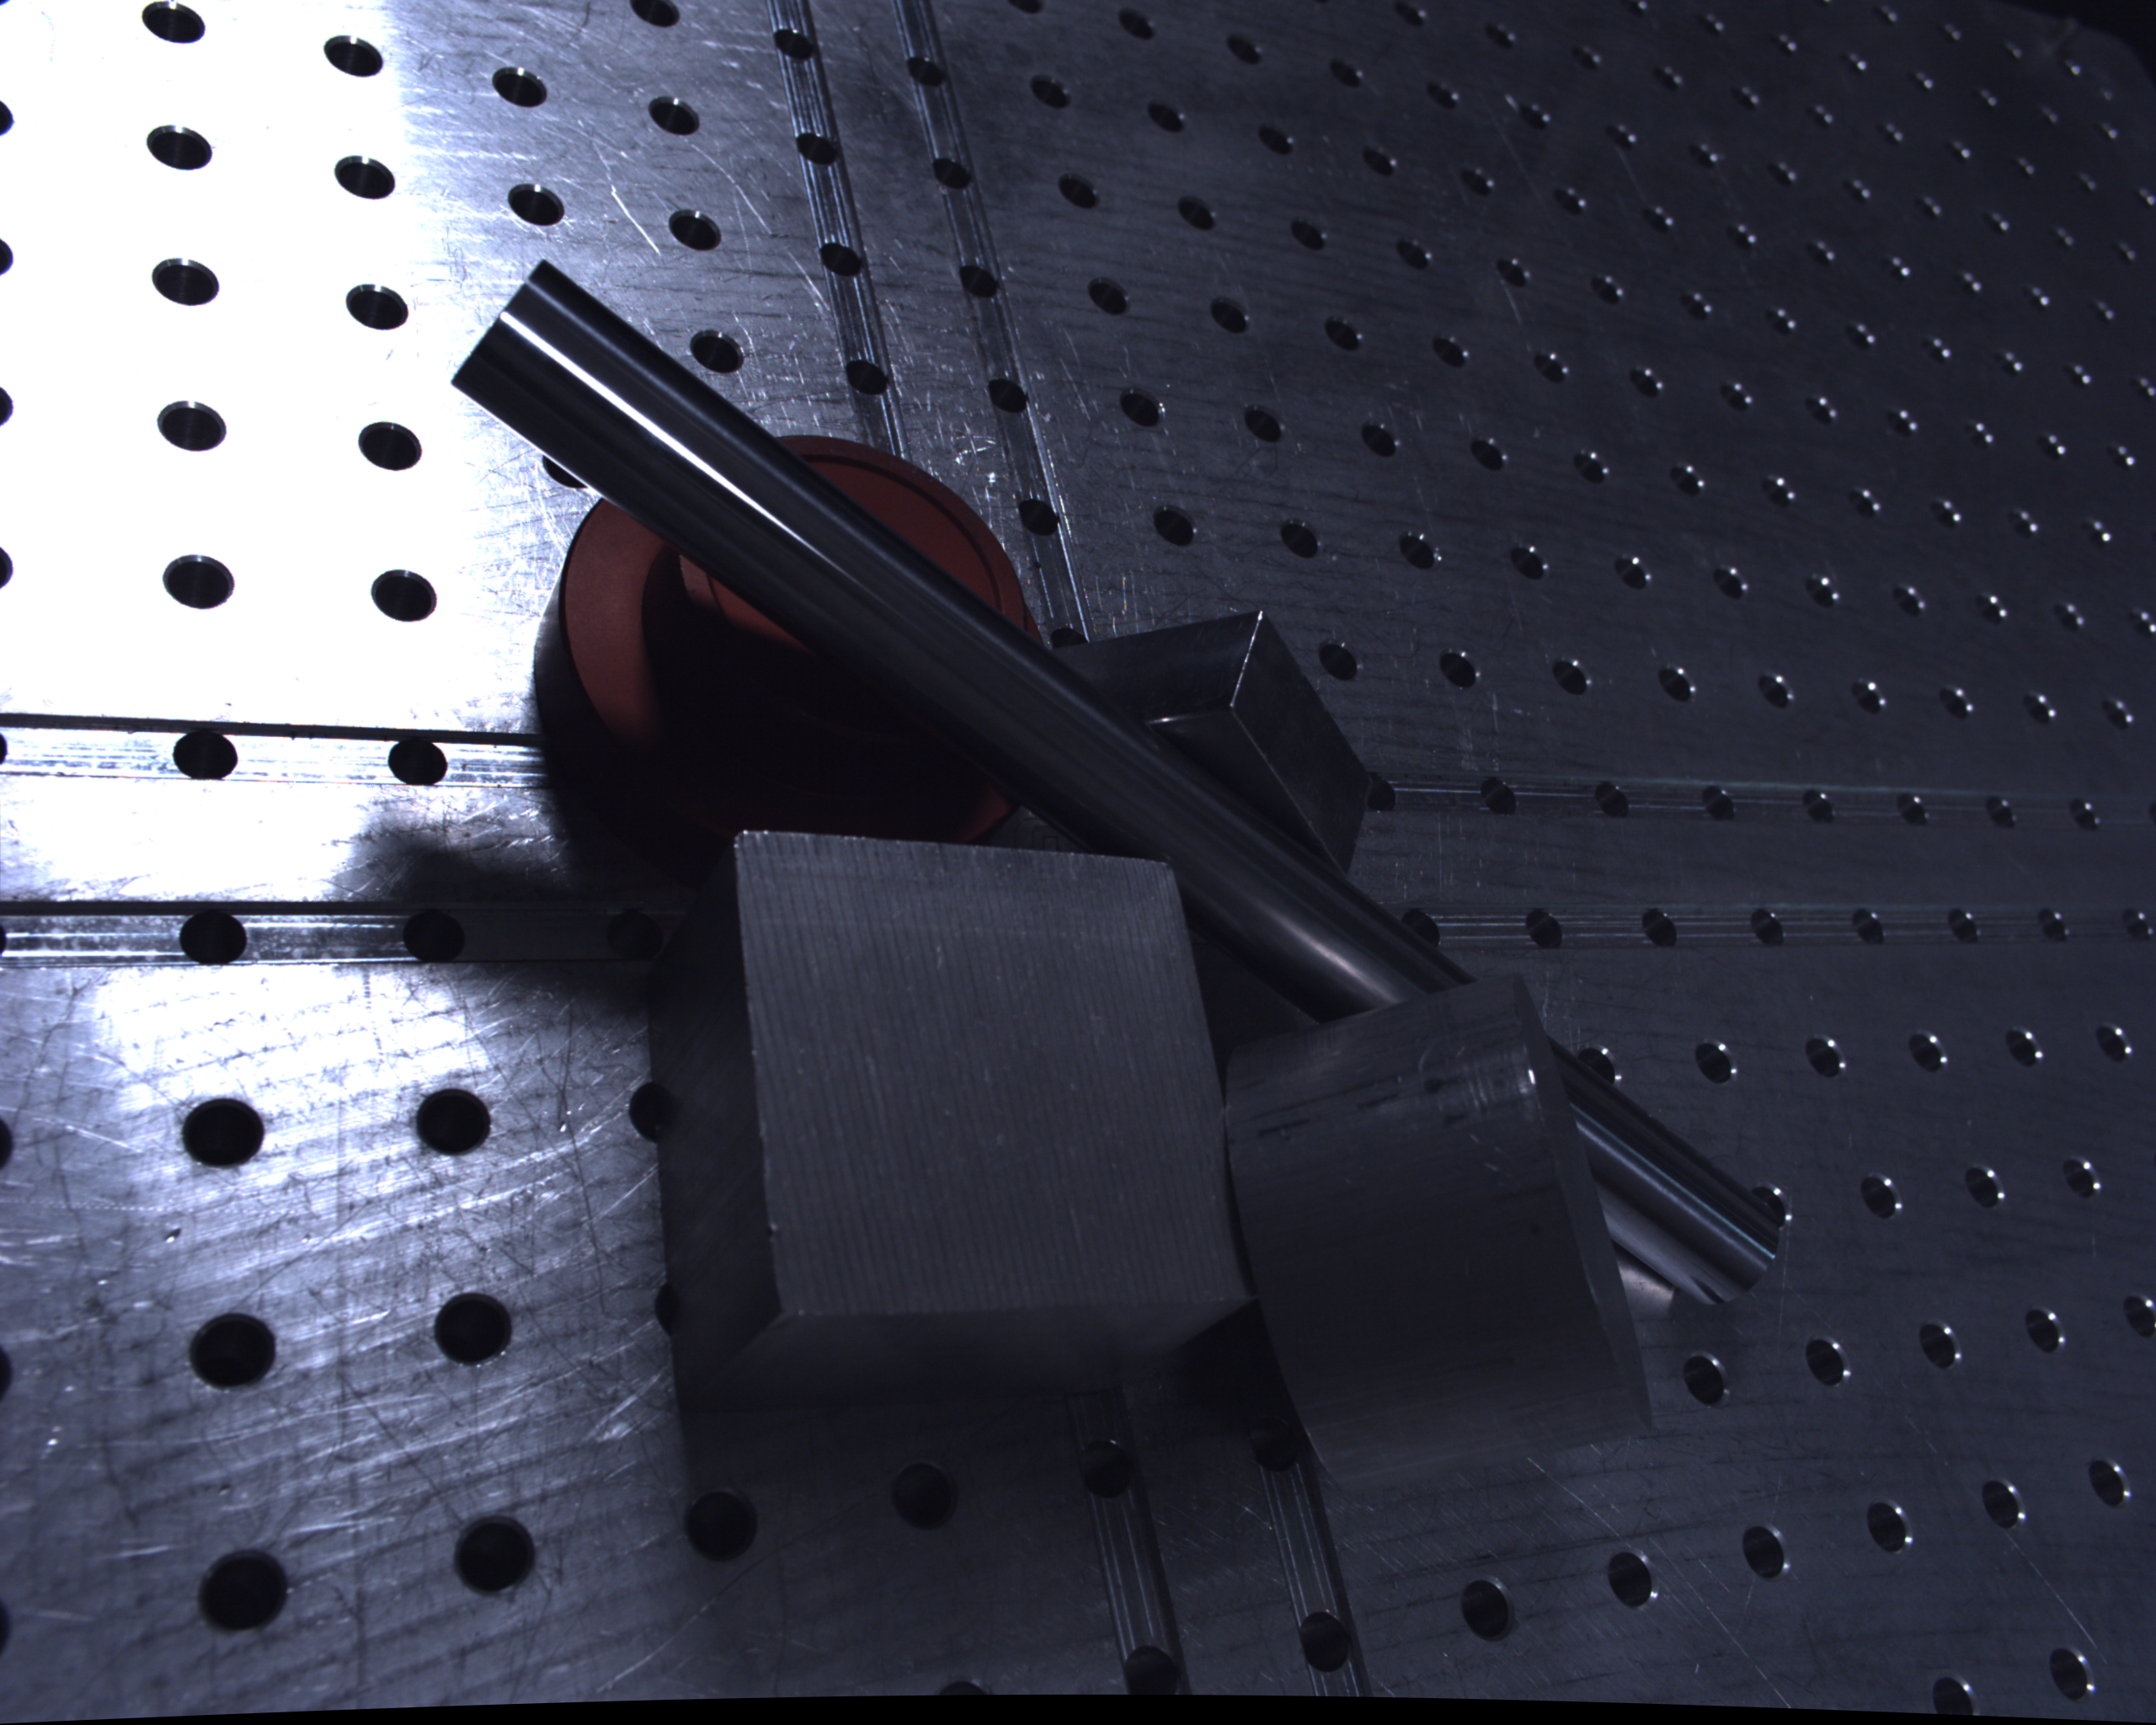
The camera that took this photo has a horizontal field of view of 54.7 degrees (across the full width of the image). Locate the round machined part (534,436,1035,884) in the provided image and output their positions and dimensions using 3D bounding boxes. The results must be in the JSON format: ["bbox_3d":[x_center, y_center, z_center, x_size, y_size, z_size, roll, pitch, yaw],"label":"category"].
[{"bbox_3d":[-0.049,-0.042,0.397,0.099,0.042,0.098,14,56,-21],"label":"round machined part"}]

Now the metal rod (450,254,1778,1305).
[{"bbox_3d":[0.022,-0.003,0.381,0.301,0.025,0.025,36,50,-21],"label":"metal rod"}]

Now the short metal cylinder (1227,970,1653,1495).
[{"bbox_3d":[0.063,0.064,0.361,0.080,0.050,0.080,-17,90,-76],"label":"short metal cylinder"}]

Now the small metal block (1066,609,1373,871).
[{"bbox_3d":[0.022,-0.019,0.405,0.050,0.050,0.025,51,45,-39],"label":"small metal block"}]

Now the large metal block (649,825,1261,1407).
[{"bbox_3d":[-0.024,0.043,0.351,0.081,0.050,0.080,5,60,-26],"label":"large metal block"}]
